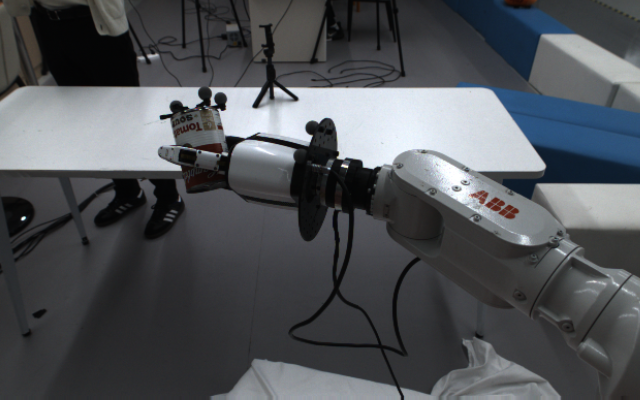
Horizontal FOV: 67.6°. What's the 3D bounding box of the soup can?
[{"bbox_3d":[-0.157,-0.064,0.653,0.067,0.101,0.067,-15,-3,-1],"label":"soup can"}]
